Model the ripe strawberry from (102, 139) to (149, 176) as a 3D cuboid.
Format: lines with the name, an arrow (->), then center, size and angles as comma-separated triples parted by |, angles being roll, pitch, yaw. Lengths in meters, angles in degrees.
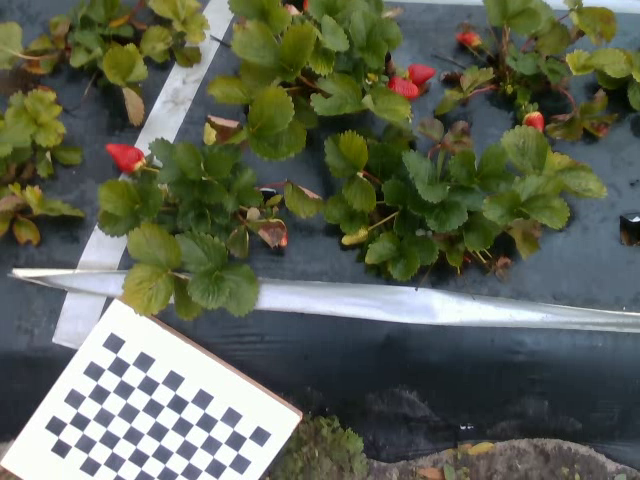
ripe strawberry -> -0.246, -0.115, 1.082 | 0.051, 0.042, 0.038 | 30, 12, -9
